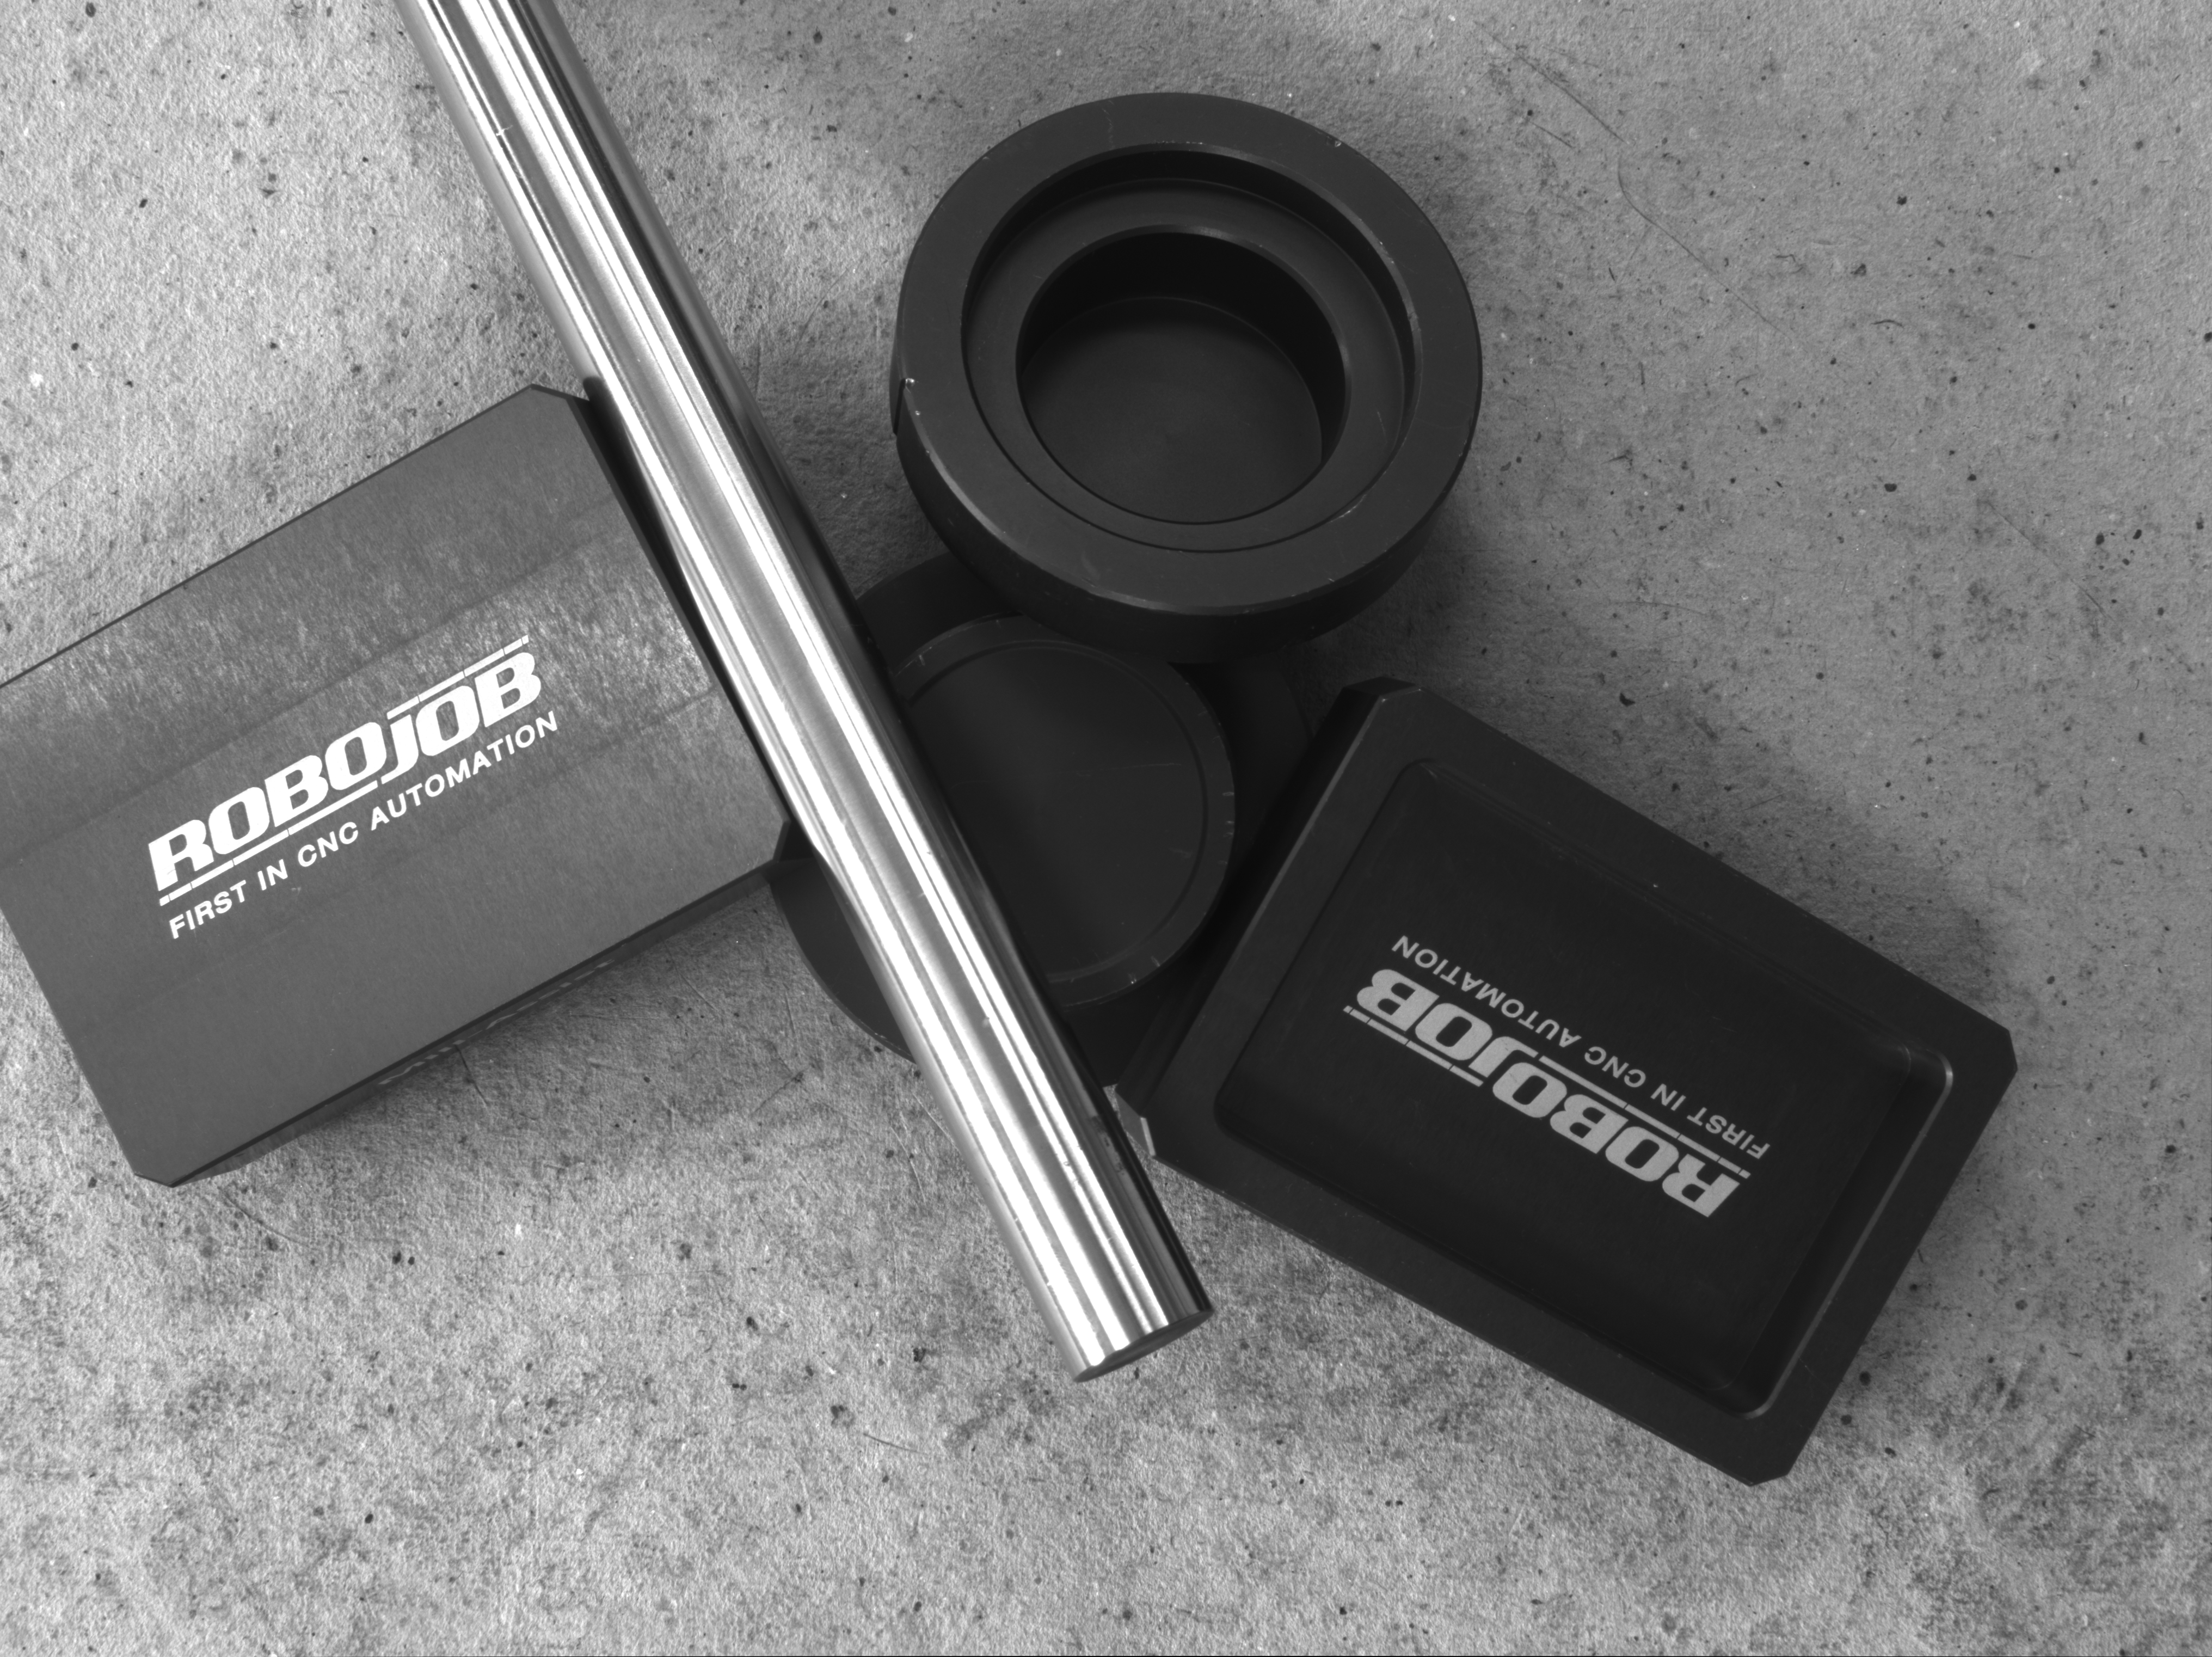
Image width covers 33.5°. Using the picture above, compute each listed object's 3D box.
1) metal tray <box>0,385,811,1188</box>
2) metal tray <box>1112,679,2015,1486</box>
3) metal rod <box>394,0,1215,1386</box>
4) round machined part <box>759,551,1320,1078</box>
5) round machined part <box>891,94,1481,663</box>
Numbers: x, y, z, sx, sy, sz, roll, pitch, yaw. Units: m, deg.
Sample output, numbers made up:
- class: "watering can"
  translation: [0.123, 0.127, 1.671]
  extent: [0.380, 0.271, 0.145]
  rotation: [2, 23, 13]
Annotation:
- class: "metal tray"
  translation: [-0.125, -0.007, 0.633]
  extent: [0.130, 0.030, 0.090]
  rotation: [-28, 87, 9]
- class: "metal tray"
  translation: [0.079, 0.043, 0.633]
  extent: [0.130, 0.030, 0.090]
  rotation: [30, 90, -10]
- class: "metal rod"
  translation: [-0.060, -0.048, 0.613]
  extent: [0.025, 0.025, 0.300]
  rotation: [-27, 77, 0]
- class: "round machined part"
  translation: [-0.012, -0.003, 0.638]
  extent: [0.098, 0.042, 0.098]
  rotation: [0, 90, 0]
- class: "round machined part"
  translation: [0.012, -0.072, 0.627]
  extent: [0.098, 0.042, 0.098]
  rotation: [2, 68, -6]
